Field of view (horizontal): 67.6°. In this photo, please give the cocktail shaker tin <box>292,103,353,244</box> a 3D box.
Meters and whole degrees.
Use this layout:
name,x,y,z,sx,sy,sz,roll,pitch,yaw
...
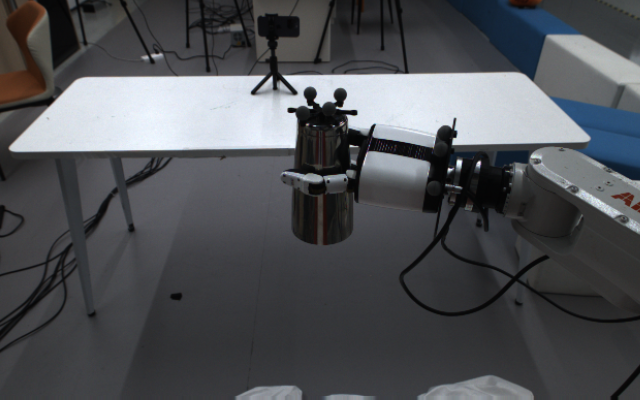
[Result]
name,x,y,z,sx,sy,sz,roll,pitch,yaw
cocktail shaker tin,0.005,-0.035,0.664,0.093,0.170,0.093,0,33,0
